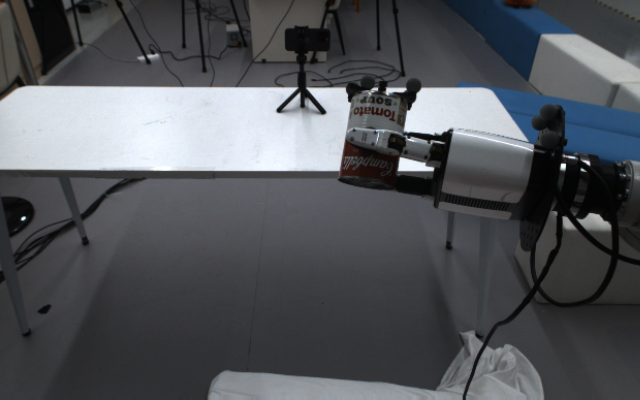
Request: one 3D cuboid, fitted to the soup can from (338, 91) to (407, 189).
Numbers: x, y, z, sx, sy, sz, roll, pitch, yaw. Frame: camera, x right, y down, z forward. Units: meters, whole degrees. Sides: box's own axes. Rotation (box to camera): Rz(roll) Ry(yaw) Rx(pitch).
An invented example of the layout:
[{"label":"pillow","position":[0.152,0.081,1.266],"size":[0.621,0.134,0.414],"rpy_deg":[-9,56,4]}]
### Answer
[{"label":"soup can","position":[0.063,-0.069,0.564],"size":[0.067,0.101,0.067],"rpy_deg":[9,-5,1]}]
